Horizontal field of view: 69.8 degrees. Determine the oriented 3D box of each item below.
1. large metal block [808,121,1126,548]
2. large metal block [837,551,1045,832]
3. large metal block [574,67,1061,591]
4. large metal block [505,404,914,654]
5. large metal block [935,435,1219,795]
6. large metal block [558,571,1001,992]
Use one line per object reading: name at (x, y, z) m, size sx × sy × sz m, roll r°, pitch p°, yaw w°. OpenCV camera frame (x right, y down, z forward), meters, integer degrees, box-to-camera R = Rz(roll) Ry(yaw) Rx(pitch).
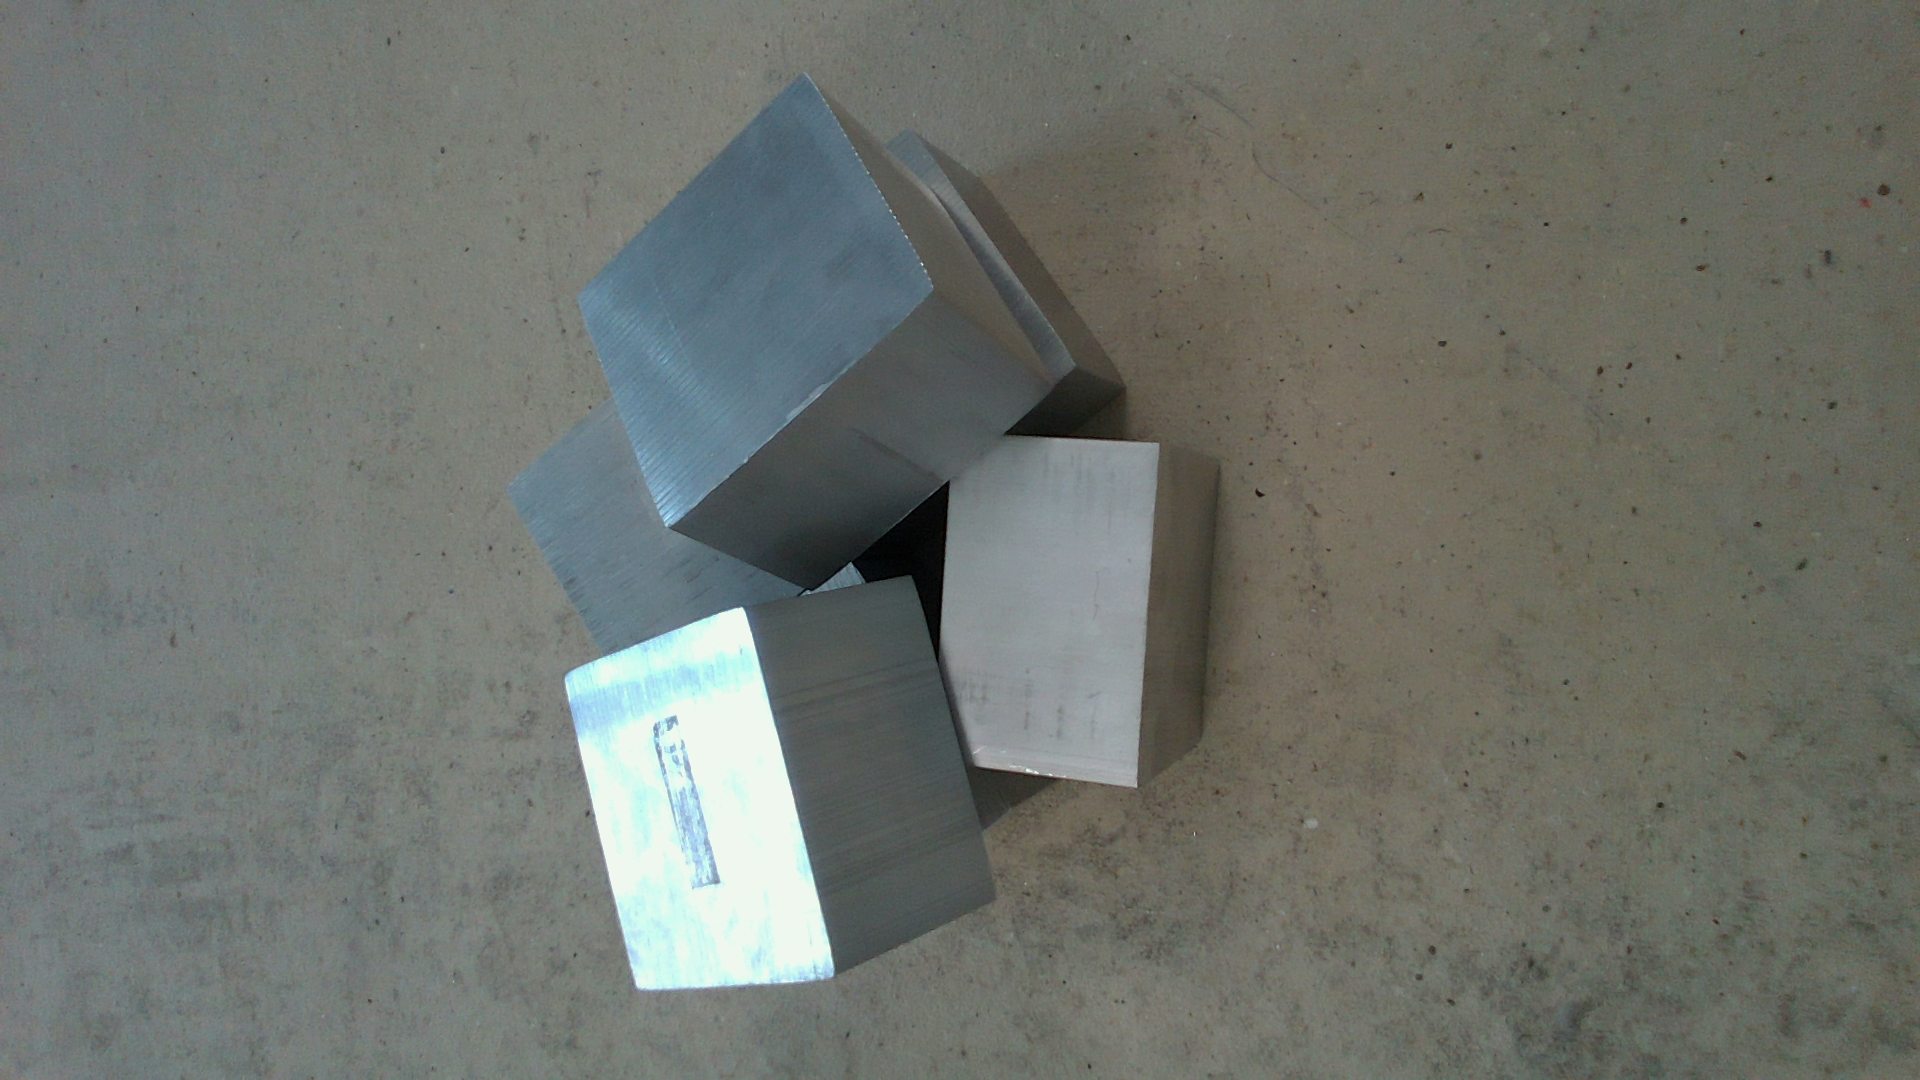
large metal block at (-0.014, -0.054, 0.386) m, size 0.080 × 0.050 × 0.080 m, roll -37°, pitch 78°, yaw 15°
large metal block at (-0.029, 0.059, 0.395) m, size 0.080 × 0.050 × 0.080 m, roll -37°, pitch 78°, yaw 16°
large metal block at (-0.036, -0.048, 0.325) m, size 0.080 × 0.050 × 0.080 m, roll -39°, pitch 55°, yaw 15°
large metal block at (-0.073, -0.006, 0.410) m, size 0.080 × 0.050 × 0.080 m, roll -37°, pitch 79°, yaw 16°
large metal block at (0.033, 0.016, 0.355) m, size 0.050 × 0.080 × 0.080 m, roll 4°, pitch 92°, yaw 20°
large metal block at (-0.045, 0.059, 0.330) m, size 0.080 × 0.050 × 0.080 m, roll -20°, pitch 83°, yaw 44°
